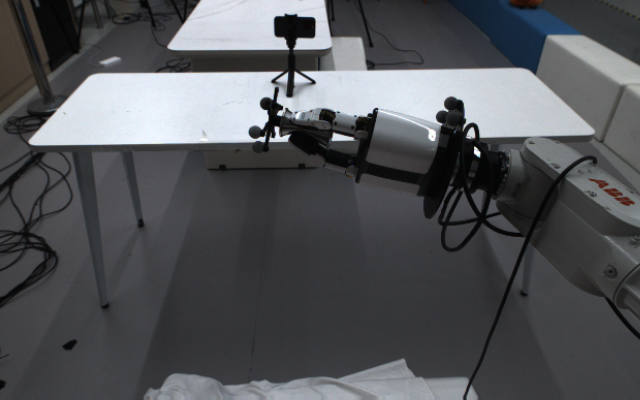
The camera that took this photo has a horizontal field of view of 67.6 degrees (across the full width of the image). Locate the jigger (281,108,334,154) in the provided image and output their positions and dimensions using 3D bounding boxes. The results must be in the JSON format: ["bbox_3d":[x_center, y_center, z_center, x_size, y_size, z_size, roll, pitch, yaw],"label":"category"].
[{"bbox_3d":[-0.011,-0.101,0.653,0.071,0.043,0.043,13,36,4],"label":"jigger"}]
